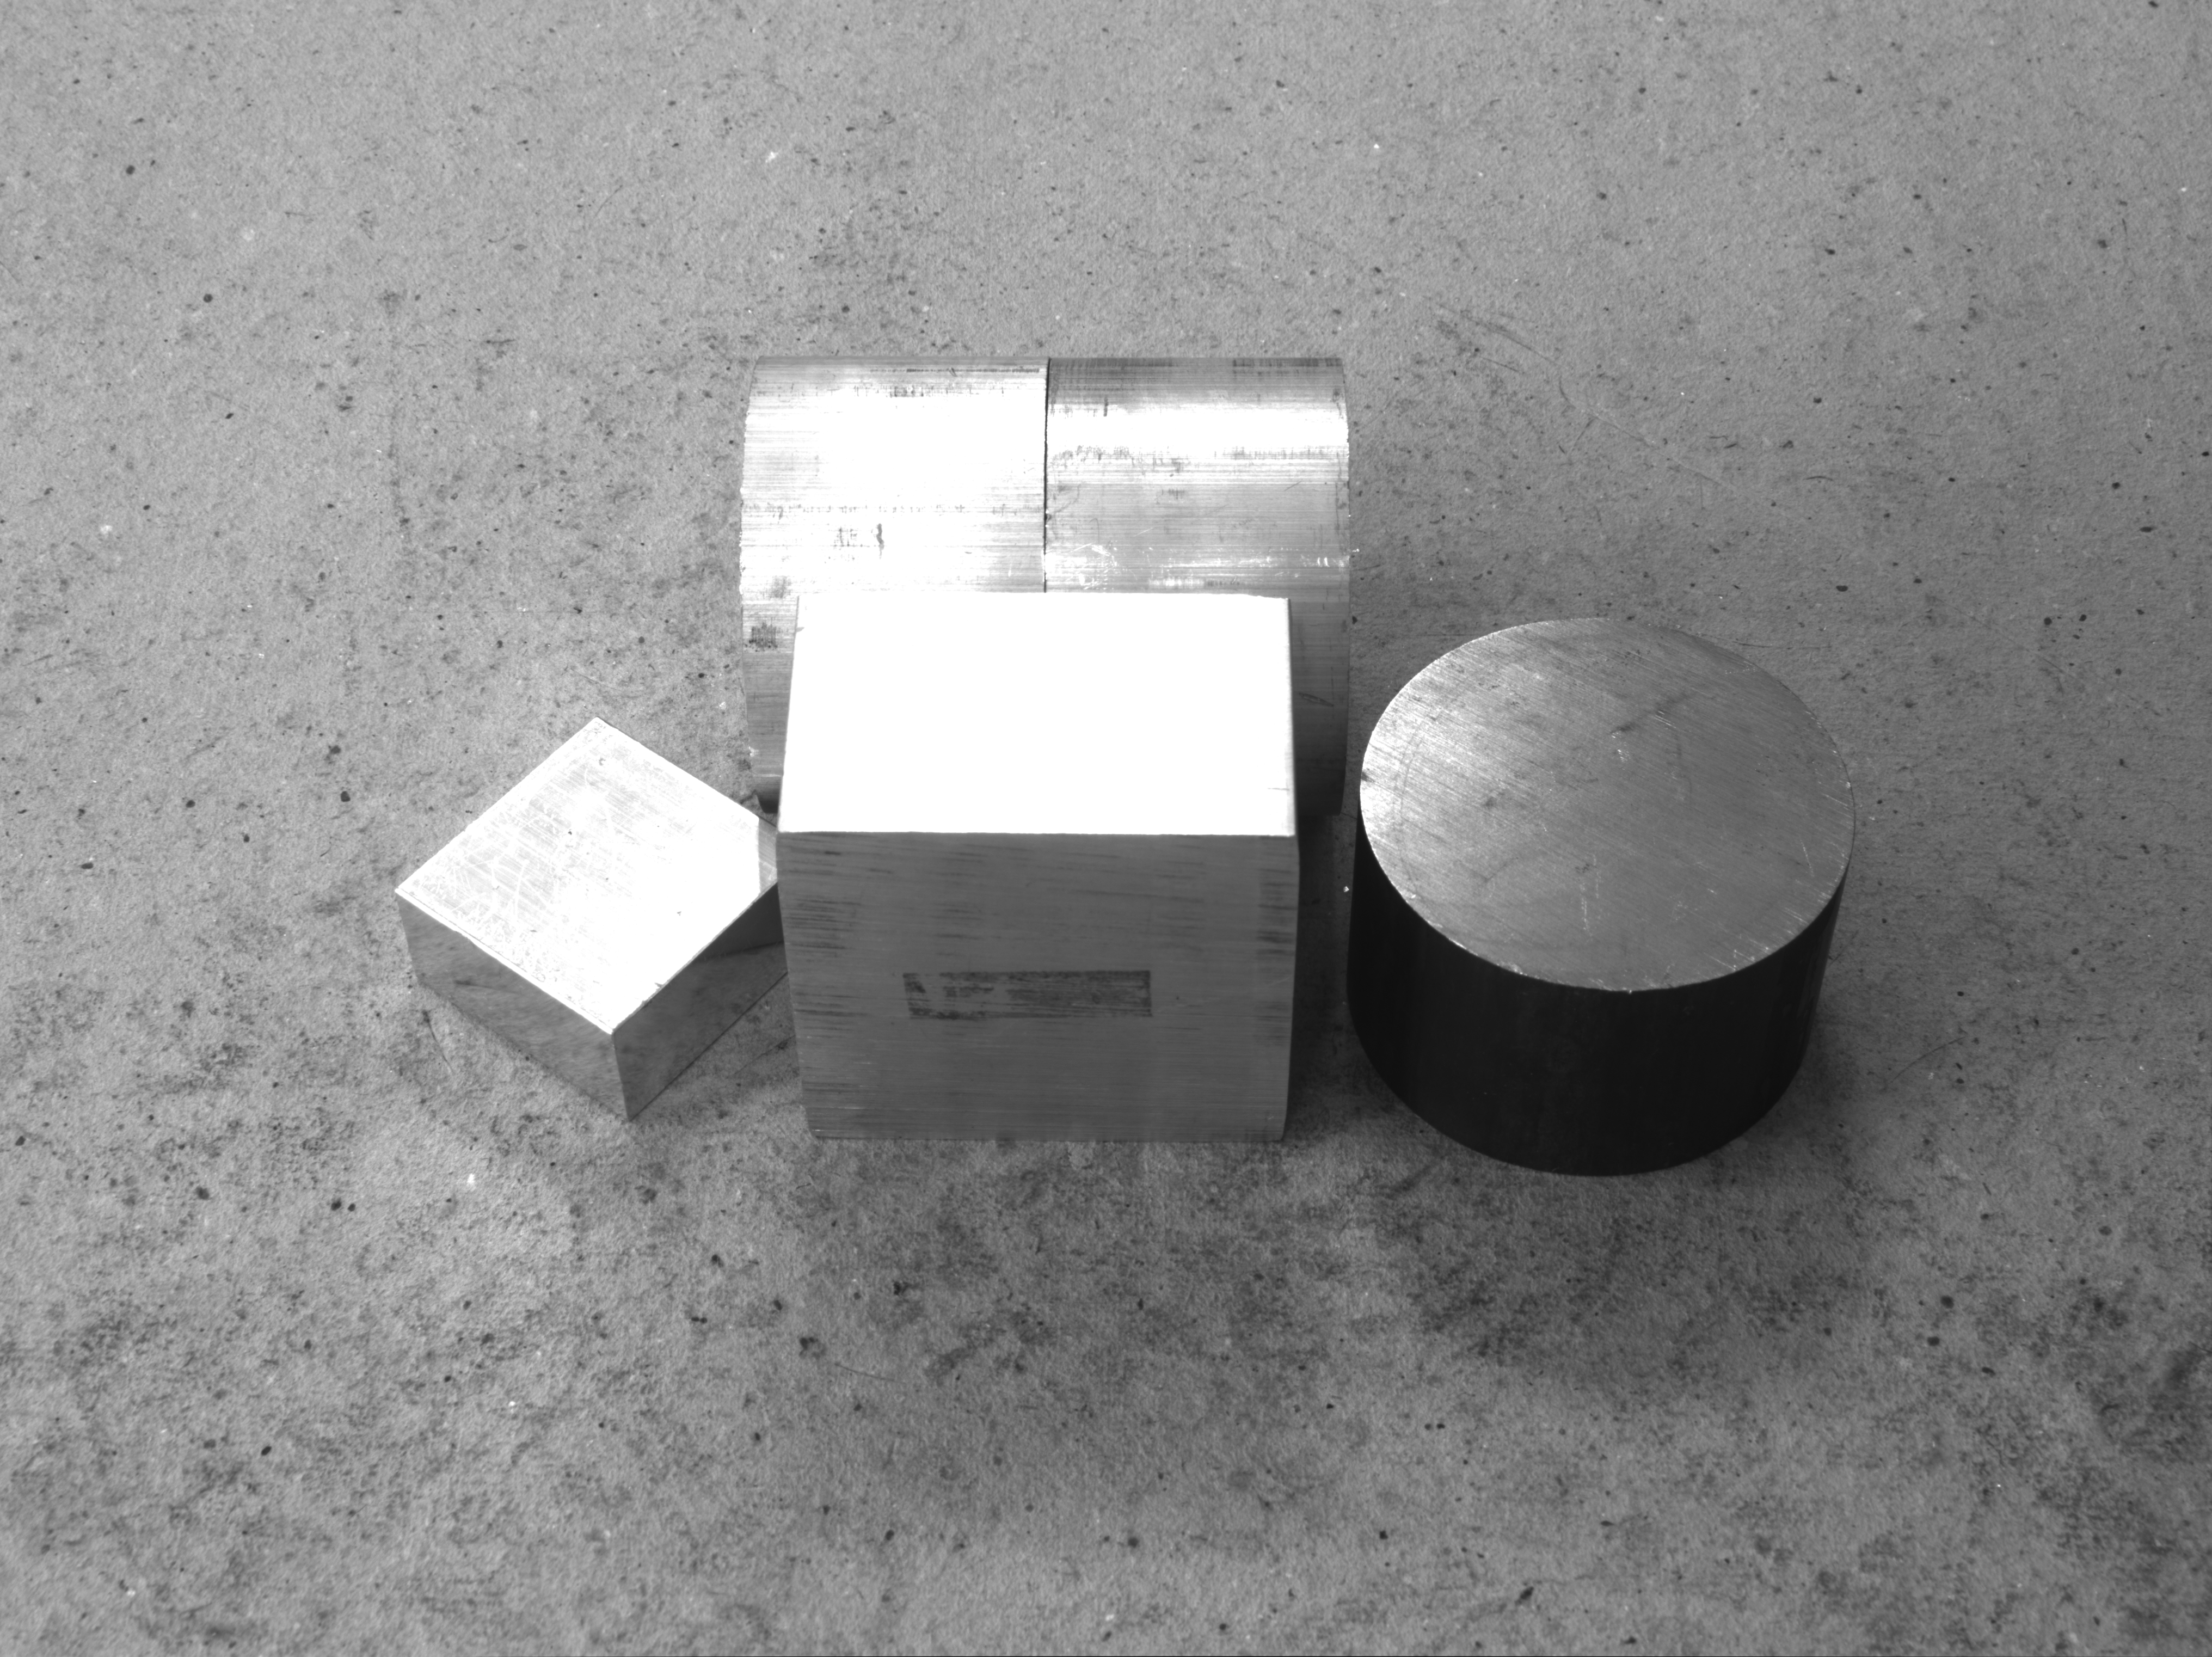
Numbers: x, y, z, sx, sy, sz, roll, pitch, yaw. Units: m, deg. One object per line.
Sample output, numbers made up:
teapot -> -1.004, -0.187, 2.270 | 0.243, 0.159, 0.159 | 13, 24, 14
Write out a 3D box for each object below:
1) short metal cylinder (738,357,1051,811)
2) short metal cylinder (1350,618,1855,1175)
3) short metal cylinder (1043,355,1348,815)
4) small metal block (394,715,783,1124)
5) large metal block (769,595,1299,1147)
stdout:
short metal cylinder -> -0.035, -0.042, 0.643 | 0.050, 0.080, 0.080 | 1, 50, 1
short metal cylinder -> 0.082, 0.011, 0.617 | 0.080, 0.050, 0.080 | 0, 50, 0
short metal cylinder -> 0.015, -0.042, 0.643 | 0.050, 0.080, 0.080 | 1, 50, 1
small metal block -> -0.085, 0.015, 0.631 | 0.050, 0.025, 0.050 | 31, 56, 23
large metal block -> -0.010, 0.008, 0.601 | 0.080, 0.080, 0.050 | 1, 50, 1
